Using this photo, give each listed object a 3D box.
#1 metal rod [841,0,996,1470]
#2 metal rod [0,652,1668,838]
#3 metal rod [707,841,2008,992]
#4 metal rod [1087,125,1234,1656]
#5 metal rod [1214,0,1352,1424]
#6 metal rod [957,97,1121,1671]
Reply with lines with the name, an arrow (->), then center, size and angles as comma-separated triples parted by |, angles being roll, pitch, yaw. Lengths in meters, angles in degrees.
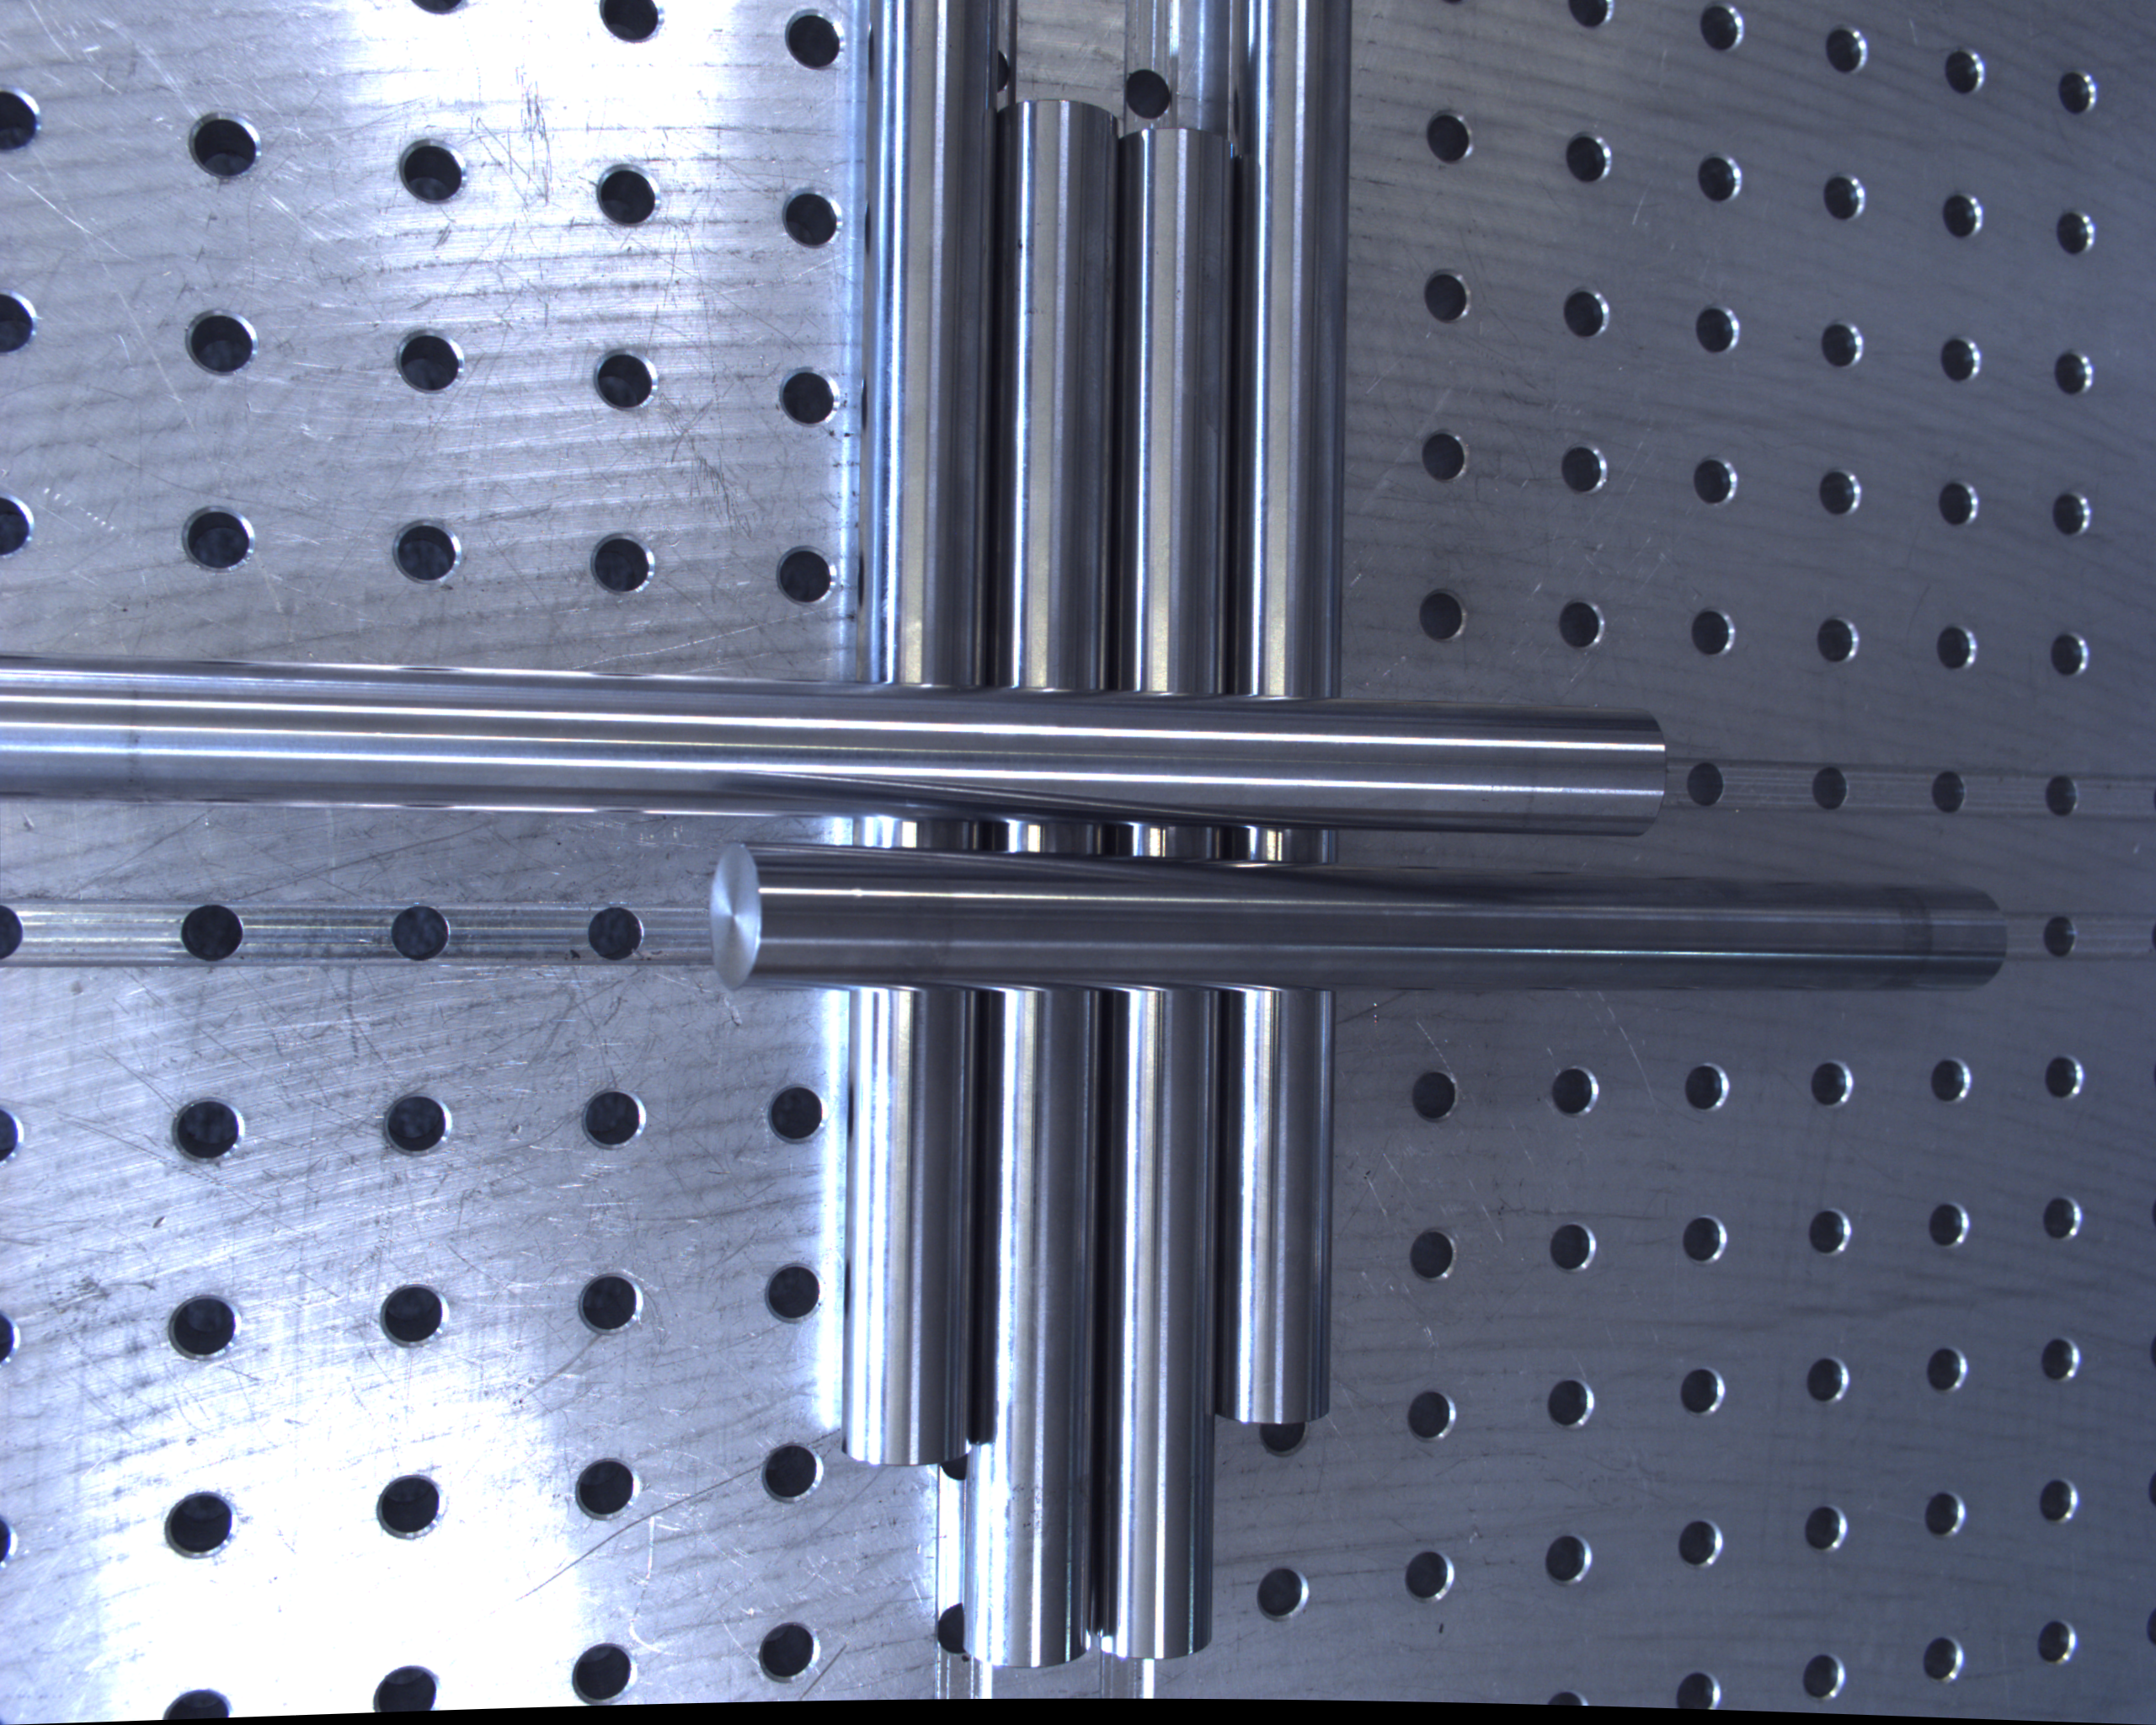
metal rod -> -0.030, -0.037, 0.400 | 0.025, 0.025, 0.298 | 1, 90, -20
metal rod -> -0.040, -0.020, 0.373 | 0.302, 0.025, 0.025 | 1, 90, -11
metal rod -> 0.075, 0.013, 0.418 | 0.302, 0.025, 0.025 | 2, 90, -29
metal rod -> 0.016, 0.005, 0.419 | 0.025, 0.025, 0.298 | 1, 90, -20
metal rod -> 0.041, -0.038, 0.427 | 0.025, 0.025, 0.298 | 1, 90, -20
metal rod -> -0.008, 0.004, 0.408 | 0.025, 0.025, 0.298 | 1, 90, -20
